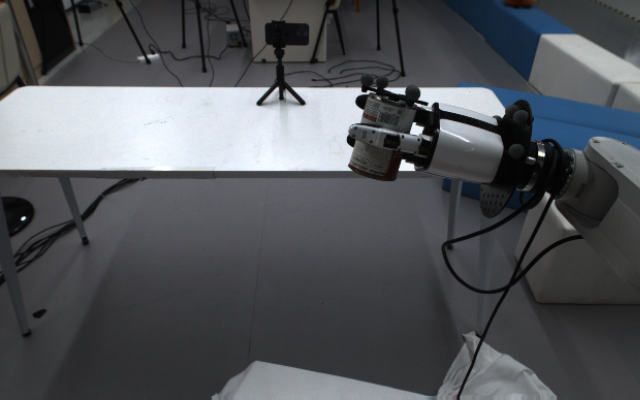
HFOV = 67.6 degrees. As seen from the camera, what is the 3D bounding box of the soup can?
[{"bbox_3d":[0.083,-0.084,0.643,0.067,0.101,0.067,13,18,-4],"label":"soup can"}]
